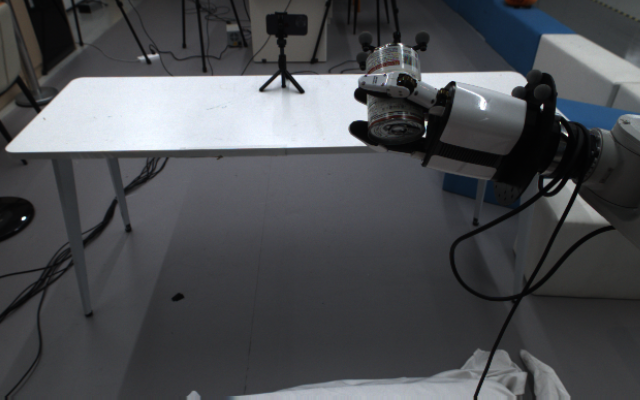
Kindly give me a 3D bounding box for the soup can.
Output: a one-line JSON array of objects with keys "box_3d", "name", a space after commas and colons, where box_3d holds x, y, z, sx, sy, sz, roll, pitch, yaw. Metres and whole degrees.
[{"box_3d": [0.091, -0.126, 0.582, 0.067, 0.067, 0.101, 1, 72, -2], "name": "soup can"}]
